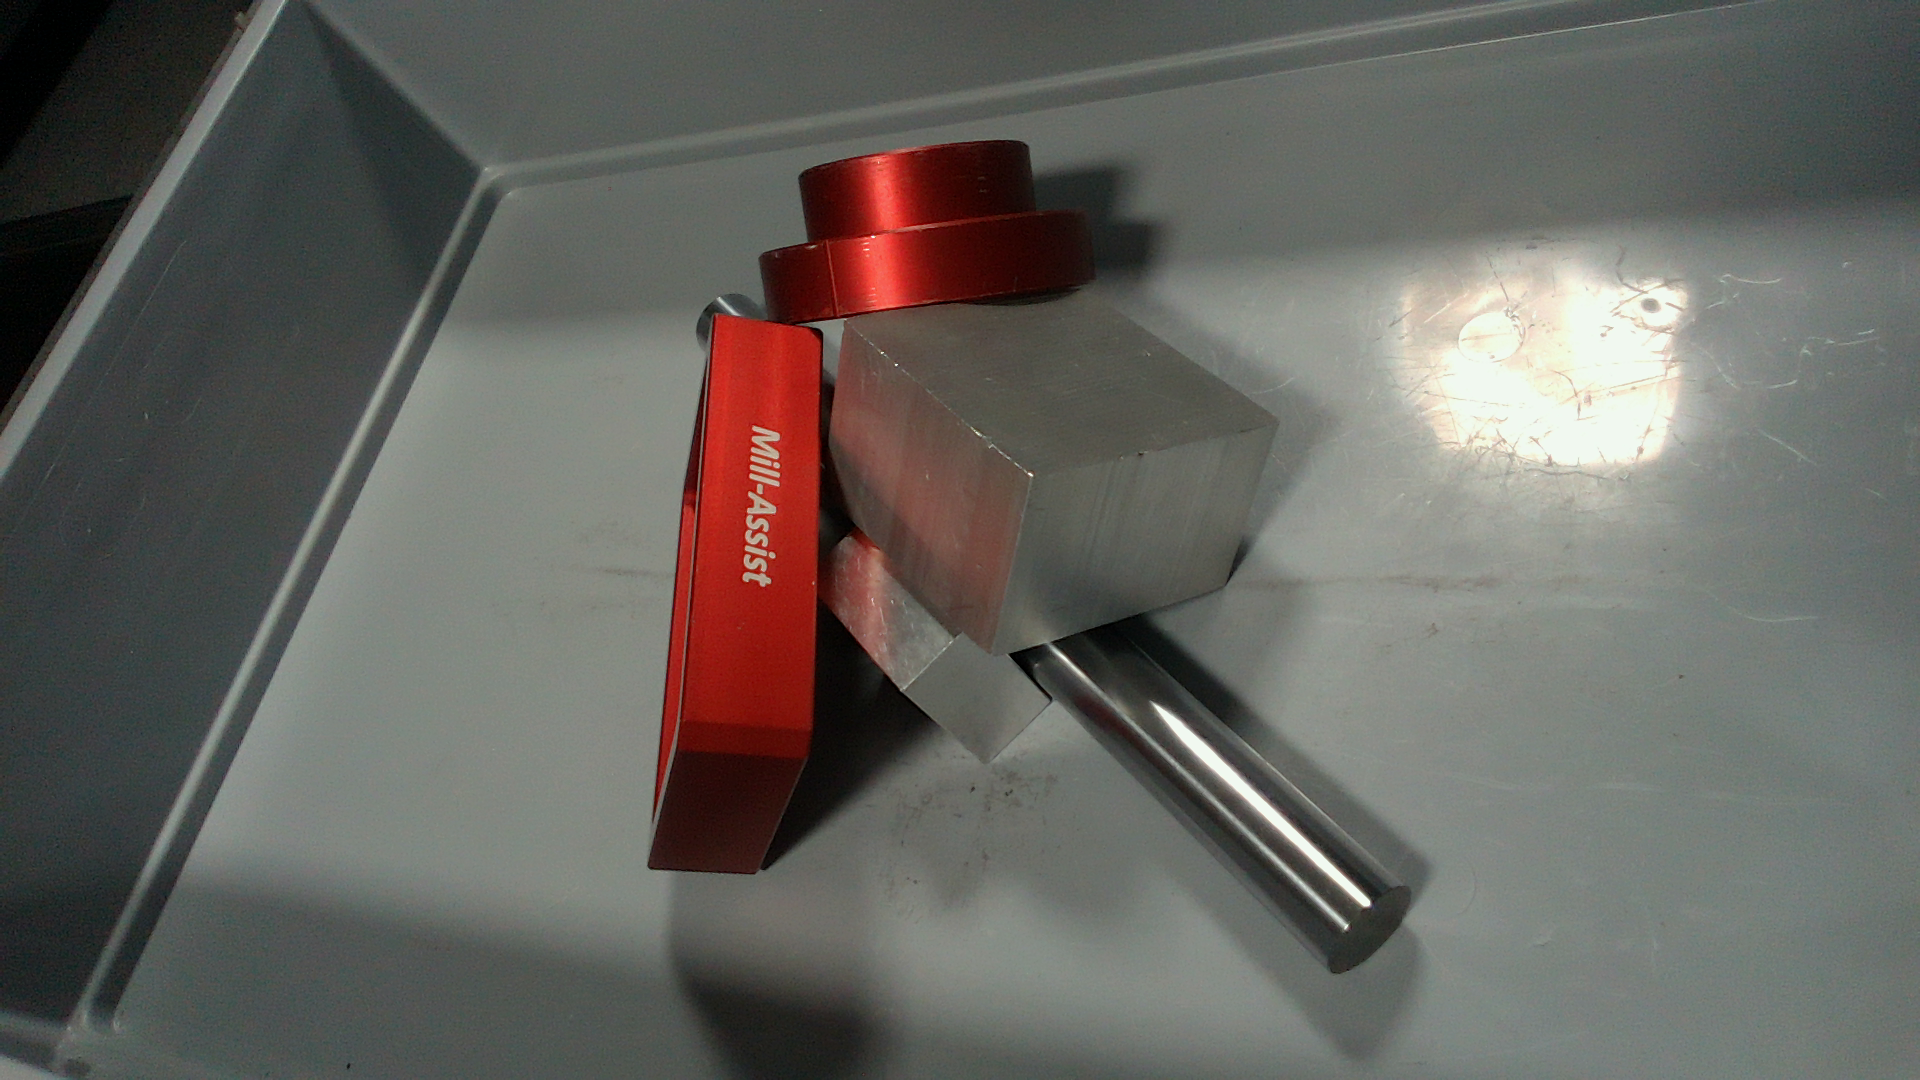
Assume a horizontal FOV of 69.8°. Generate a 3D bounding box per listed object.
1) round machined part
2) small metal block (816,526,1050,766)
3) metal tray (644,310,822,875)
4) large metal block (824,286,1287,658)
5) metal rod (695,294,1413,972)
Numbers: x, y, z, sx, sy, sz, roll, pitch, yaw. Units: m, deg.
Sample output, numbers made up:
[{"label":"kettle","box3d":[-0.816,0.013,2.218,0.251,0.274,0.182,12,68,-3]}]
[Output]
[{"label":"round machined part","box3d":[-0.011,-0.091,0.405,0.098,0.098,0.042,-2,101,28]},{"label":"small metal block","box3d":[-0.008,0.026,0.364,0.025,0.050,0.050,-44,51,-2]},{"label":"metal tray","box3d":[-0.062,0.015,0.377,0.030,0.090,0.130,7,56,-14]},{"label":"large metal block","box3d":[0.021,-0.022,0.353,0.080,0.050,0.080,-13,40,-34]},{"label":"metal rod","box3d":[0.003,0.004,0.388,0.025,0.025,0.299,-45,51,-3]}]
